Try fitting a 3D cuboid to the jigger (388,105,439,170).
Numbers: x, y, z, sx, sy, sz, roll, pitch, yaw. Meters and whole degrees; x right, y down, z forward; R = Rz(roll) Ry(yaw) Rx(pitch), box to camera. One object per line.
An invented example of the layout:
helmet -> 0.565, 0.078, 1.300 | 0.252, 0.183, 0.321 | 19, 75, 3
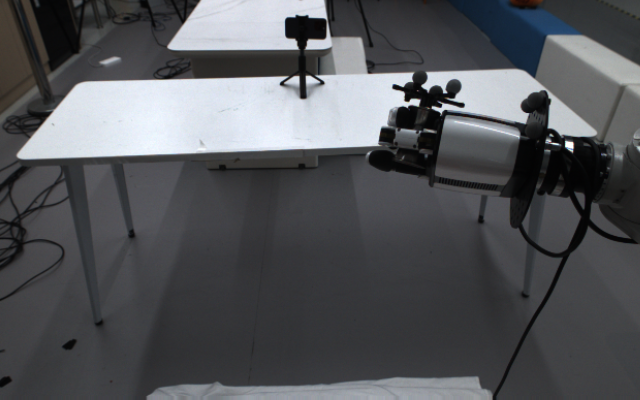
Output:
jigger -> 0.117, -0.077, 0.587 | 0.043, 0.071, 0.043 | 17, 2, -1
